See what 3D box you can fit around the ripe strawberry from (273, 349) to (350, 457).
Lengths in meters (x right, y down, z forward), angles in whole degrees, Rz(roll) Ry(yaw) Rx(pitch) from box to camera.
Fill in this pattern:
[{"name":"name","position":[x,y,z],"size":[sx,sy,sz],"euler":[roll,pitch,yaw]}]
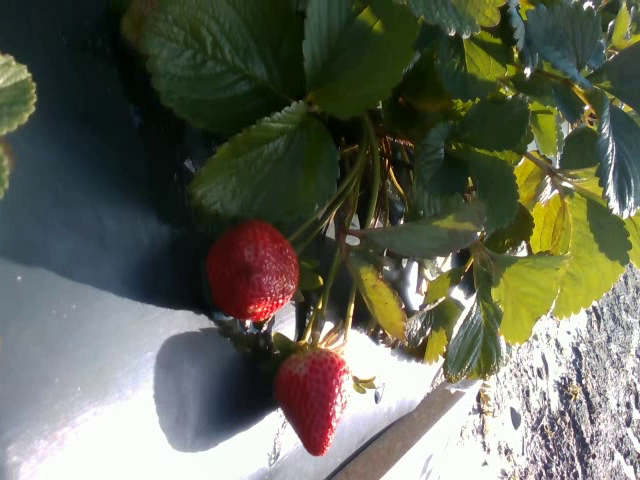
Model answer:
[{"name":"ripe strawberry","position":[0.000,0.075,0.277],"size":[0.038,0.053,0.043],"euler":[-11,-36,5]}]

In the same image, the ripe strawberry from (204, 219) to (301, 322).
[{"name":"ripe strawberry","position":[-0.027,0.015,0.254],"size":[0.039,0.048,0.054],"euler":[24,1,3]}]
